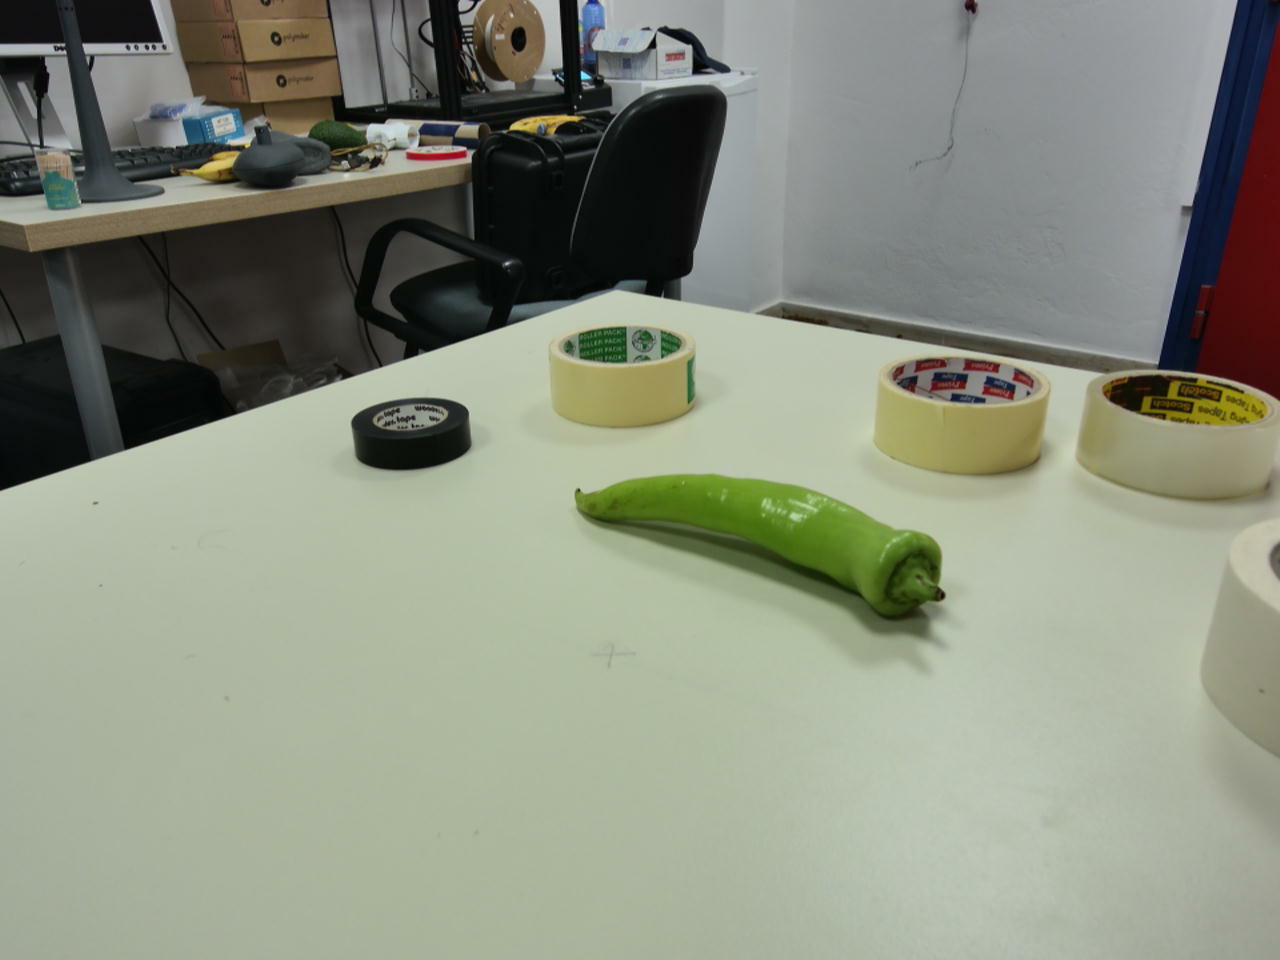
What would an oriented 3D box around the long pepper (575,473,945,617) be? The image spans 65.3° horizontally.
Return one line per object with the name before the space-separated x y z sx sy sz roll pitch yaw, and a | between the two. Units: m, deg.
long pepper | 0.049 0.017 0.444 0.197 0.038 0.046 19 29 37
